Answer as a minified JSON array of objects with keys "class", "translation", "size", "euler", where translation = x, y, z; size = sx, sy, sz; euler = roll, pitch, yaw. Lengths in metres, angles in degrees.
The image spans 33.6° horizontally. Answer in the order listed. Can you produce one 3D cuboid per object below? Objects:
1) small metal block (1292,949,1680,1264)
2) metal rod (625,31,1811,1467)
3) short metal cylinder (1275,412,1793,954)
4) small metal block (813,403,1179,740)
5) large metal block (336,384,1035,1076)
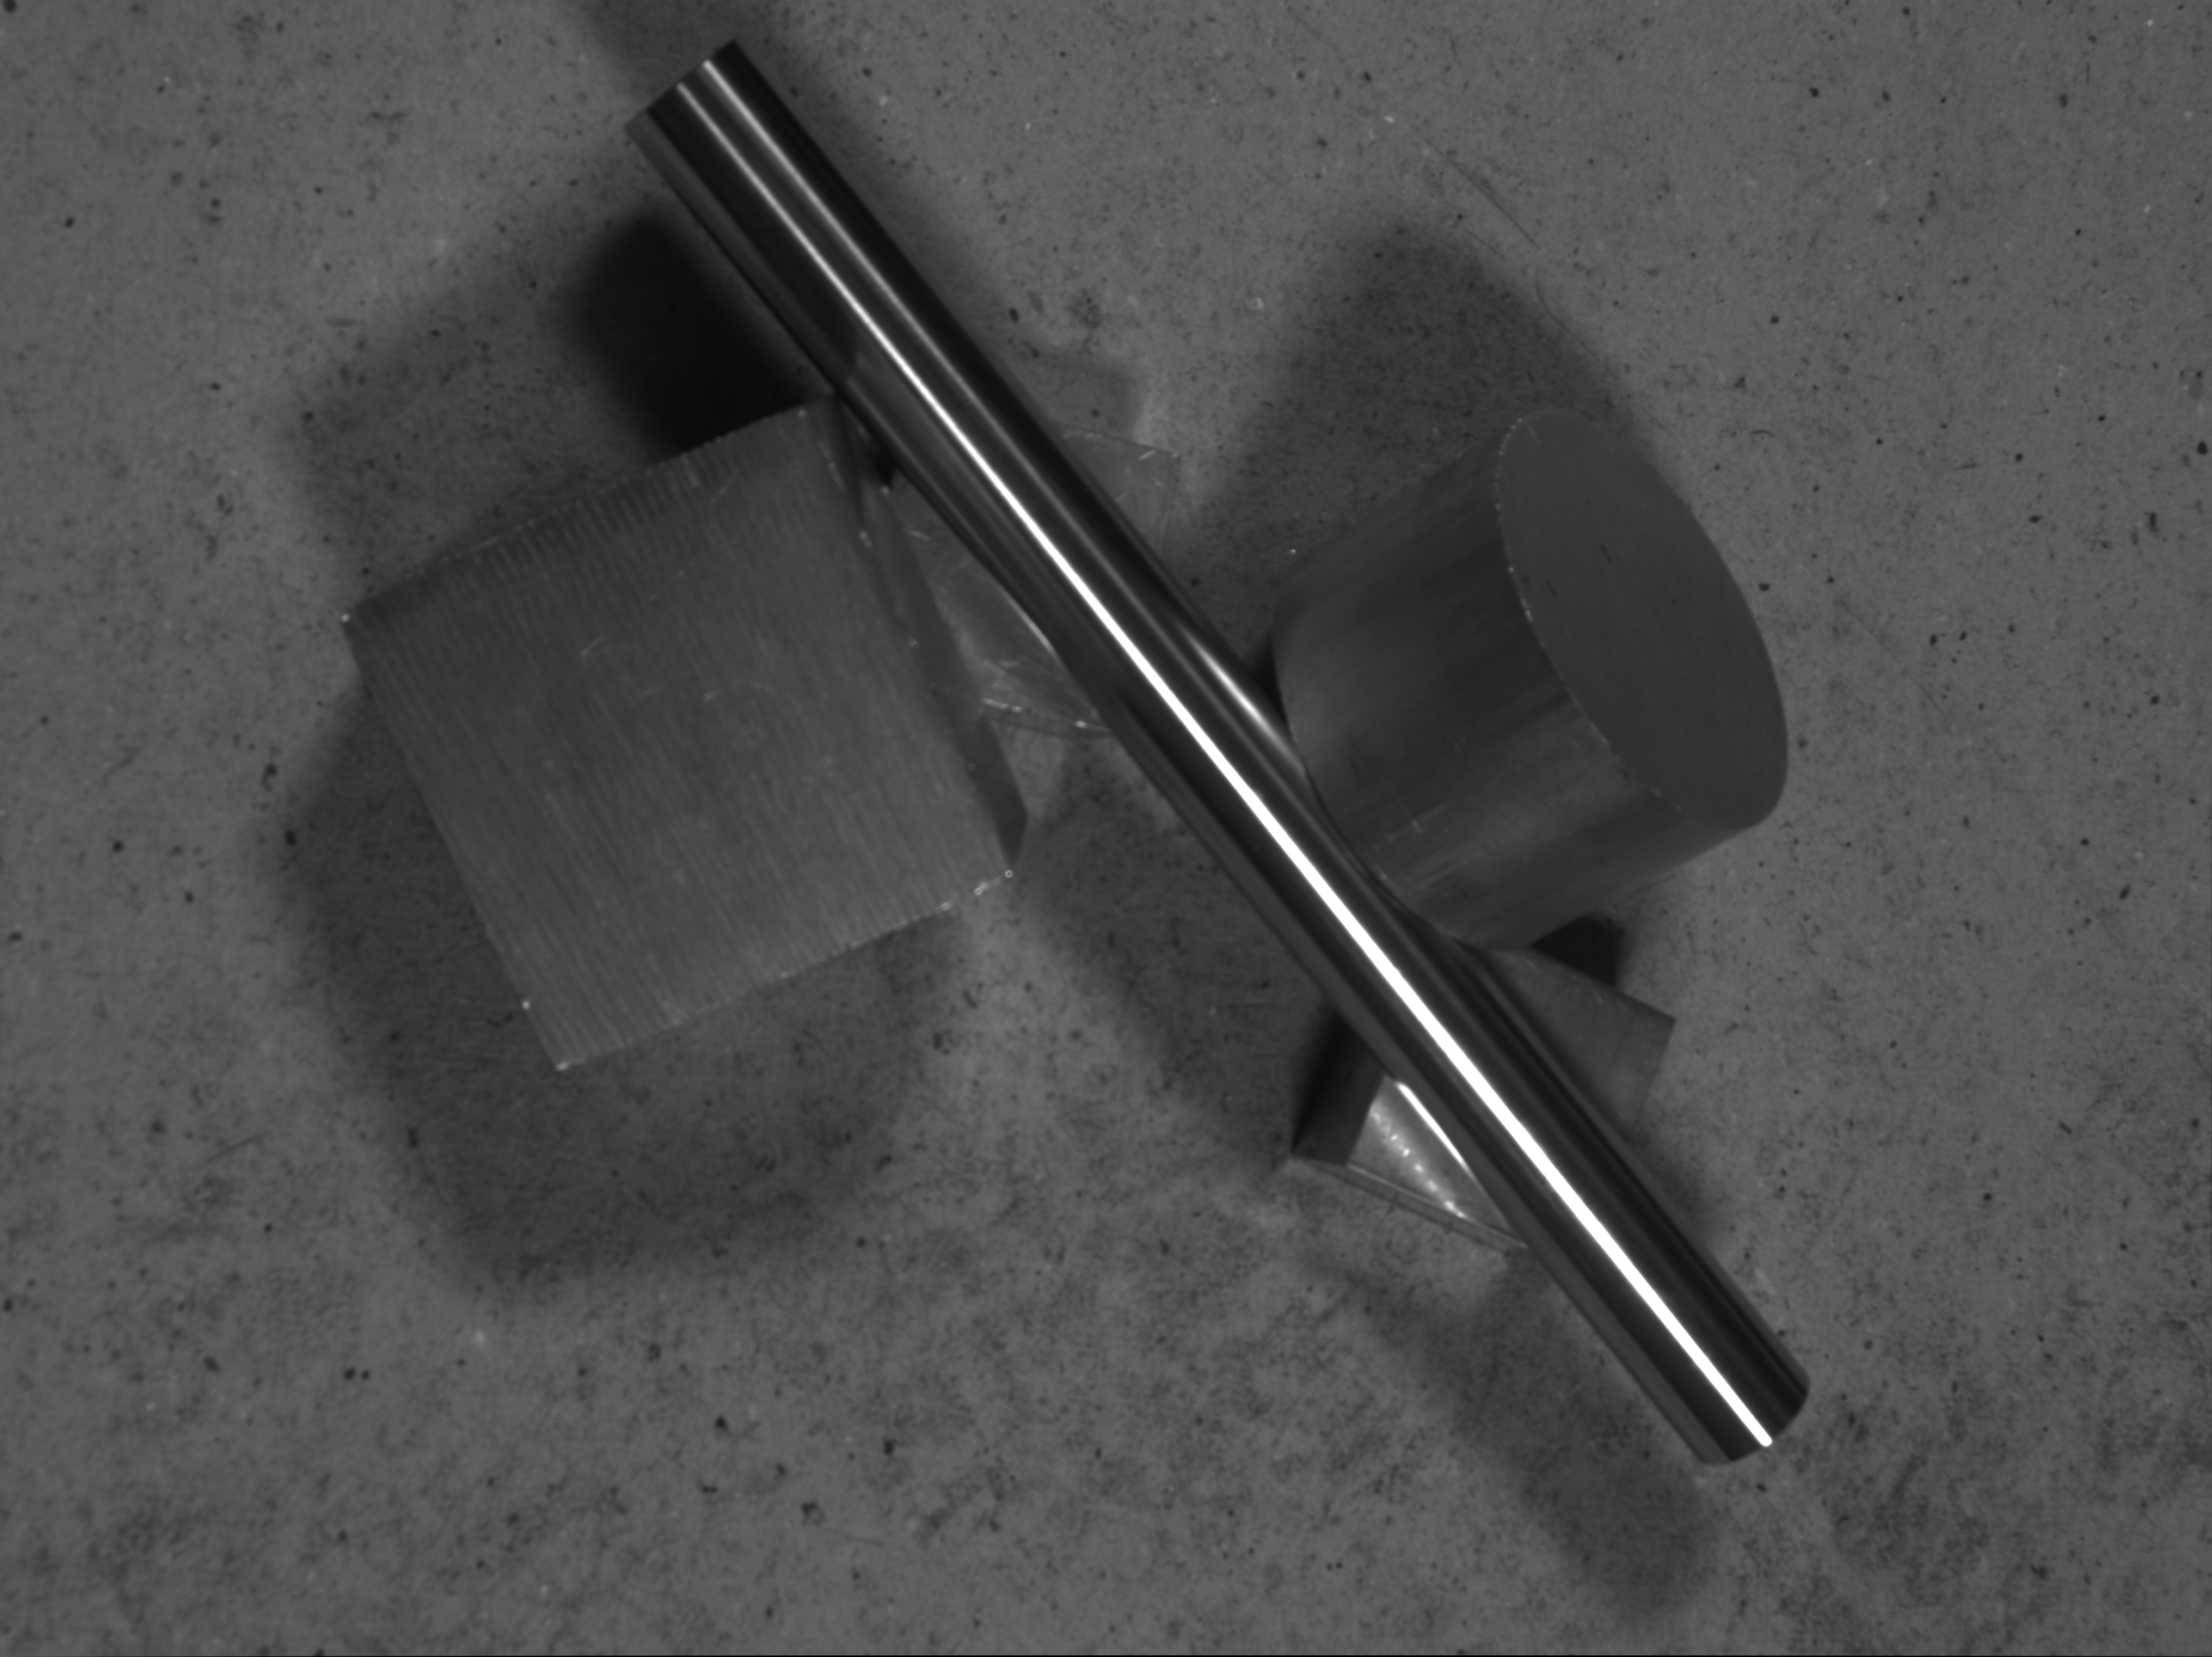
[{"class":"small metal block","translation":[0.069,0.047,0.669],"size":[0.050,0.025,0.050],"euler":[26,81,-18]},{"class":"metal rod","translation":[0.024,-0.008,0.626],"size":[0.025,0.025,0.300],"euler":[-43,103,-15]},{"class":"short metal cylinder","translation":[0.075,-0.025,0.636],"size":[0.080,0.050,0.080],"euler":[32,42,-34]},{"class":"small metal block","translation":[-0.020,-0.045,0.637],"size":[0.050,0.025,0.050],"euler":[13,86,-19]},{"class":"large metal block","translation":[-0.065,-0.017,0.589],"size":[0.080,0.050,0.080],"euler":[-23,99,5]}]
